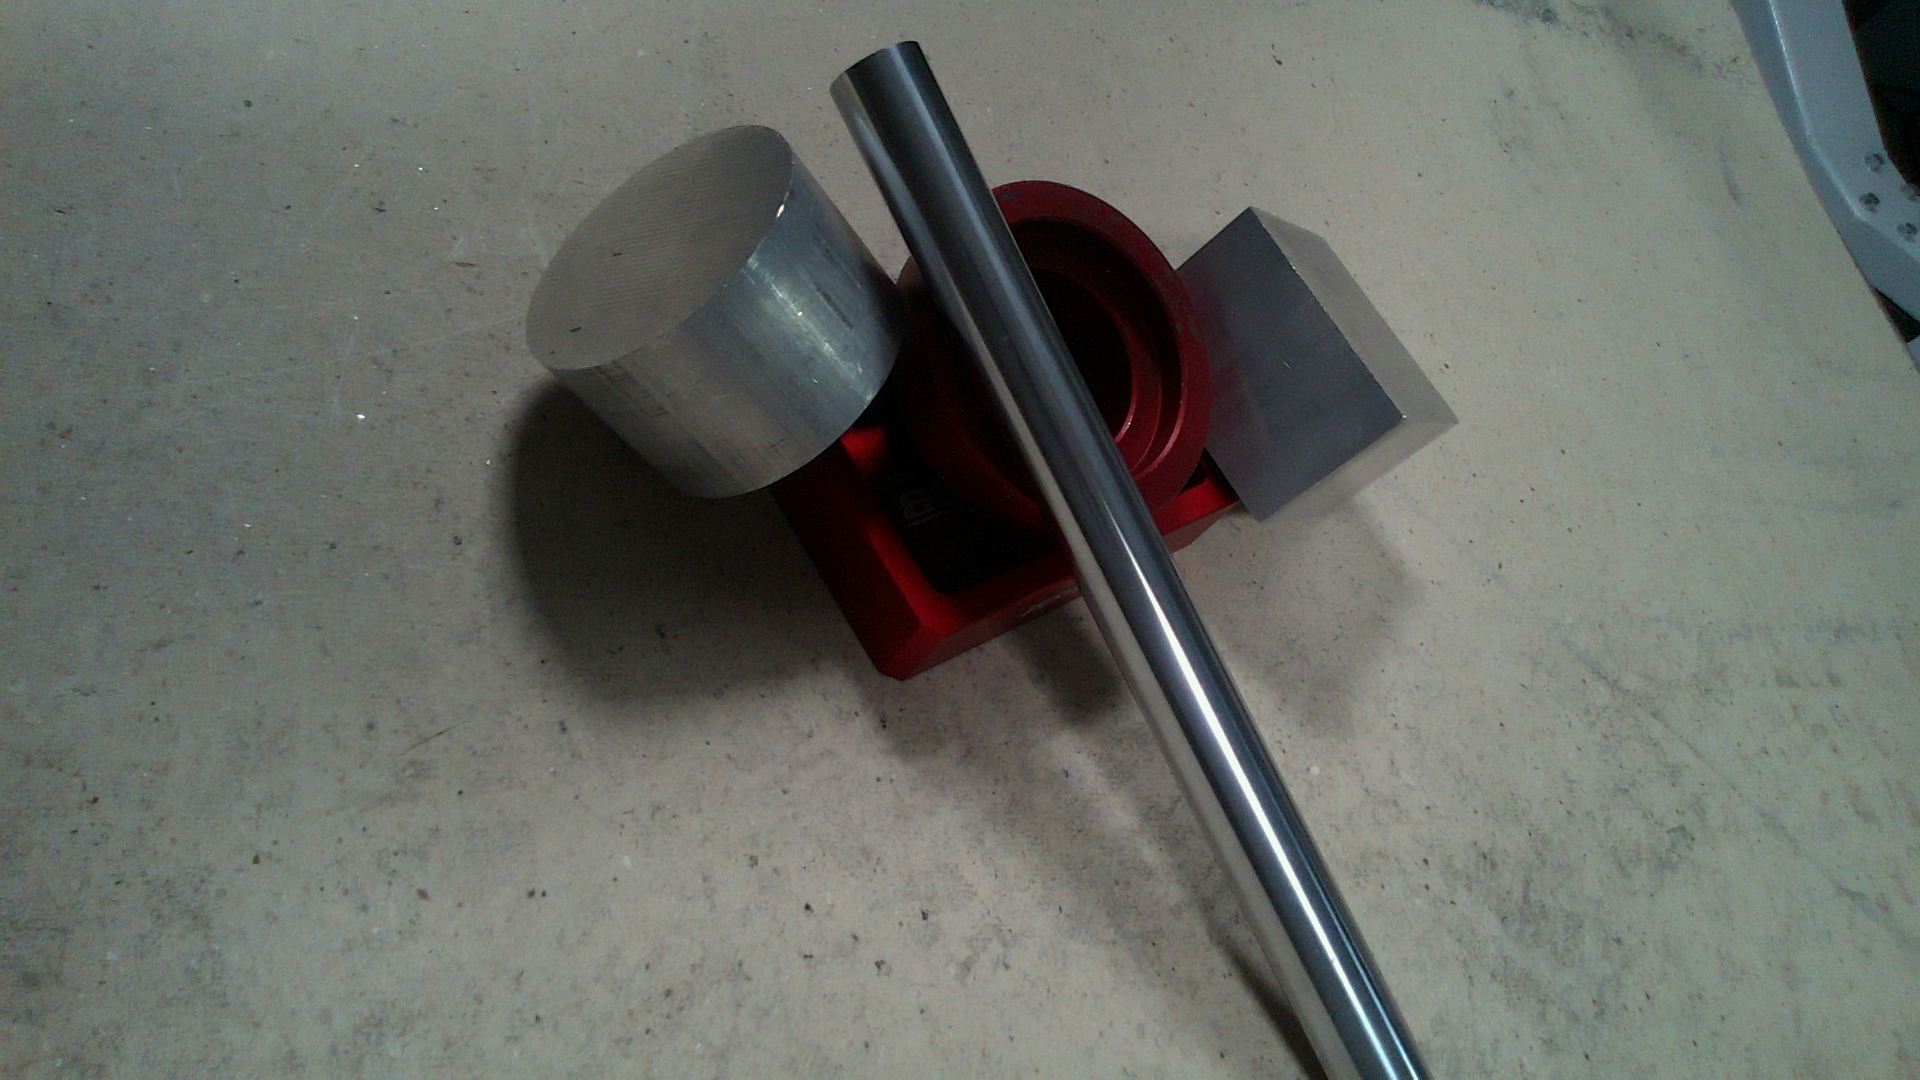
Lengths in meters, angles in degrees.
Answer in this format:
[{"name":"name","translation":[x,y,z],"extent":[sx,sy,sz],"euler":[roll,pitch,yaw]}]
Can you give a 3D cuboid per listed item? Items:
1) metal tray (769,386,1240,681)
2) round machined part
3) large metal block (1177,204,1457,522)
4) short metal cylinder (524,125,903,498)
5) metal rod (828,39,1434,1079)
[{"name":"metal tray","translation":[0.012,-0.024,0.408],"extent":[0.130,0.030,0.090],"euler":[-23,74,-36]},{"name":"round machined part","translation":[0.022,-0.048,0.389],"extent":[0.098,0.042,0.098],"euler":[10,72,-30]},{"name":"large metal block","translation":[0.108,-0.055,0.444],"extent":[0.080,0.050,0.080],"euler":[58,27,13]},{"name":"short metal cylinder","translation":[-0.062,-0.058,0.348],"extent":[0.050,0.080,0.080],"euler":[49,40,-42]},{"name":"metal rod","translation":[0.047,0.017,0.348],"extent":[0.025,0.025,0.300],"euler":[-30,95,-38]}]
